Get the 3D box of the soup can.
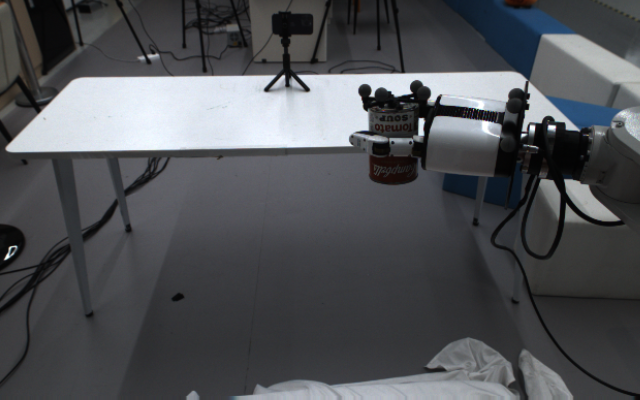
[{"bbox_3d":[0.100,-0.080,0.651,0.067,0.101,0.067,-4,26,2],"label":"soup can"}]
